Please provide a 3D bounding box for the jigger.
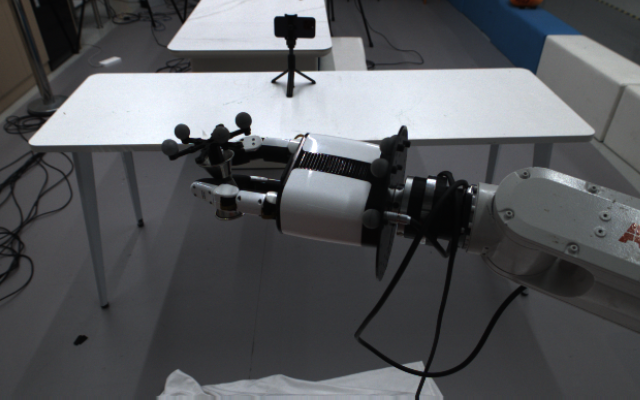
[{"bbox_3d":[-0.103,-0.018,0.537,0.043,0.071,0.043,-10,32,6],"label":"jigger"}]
